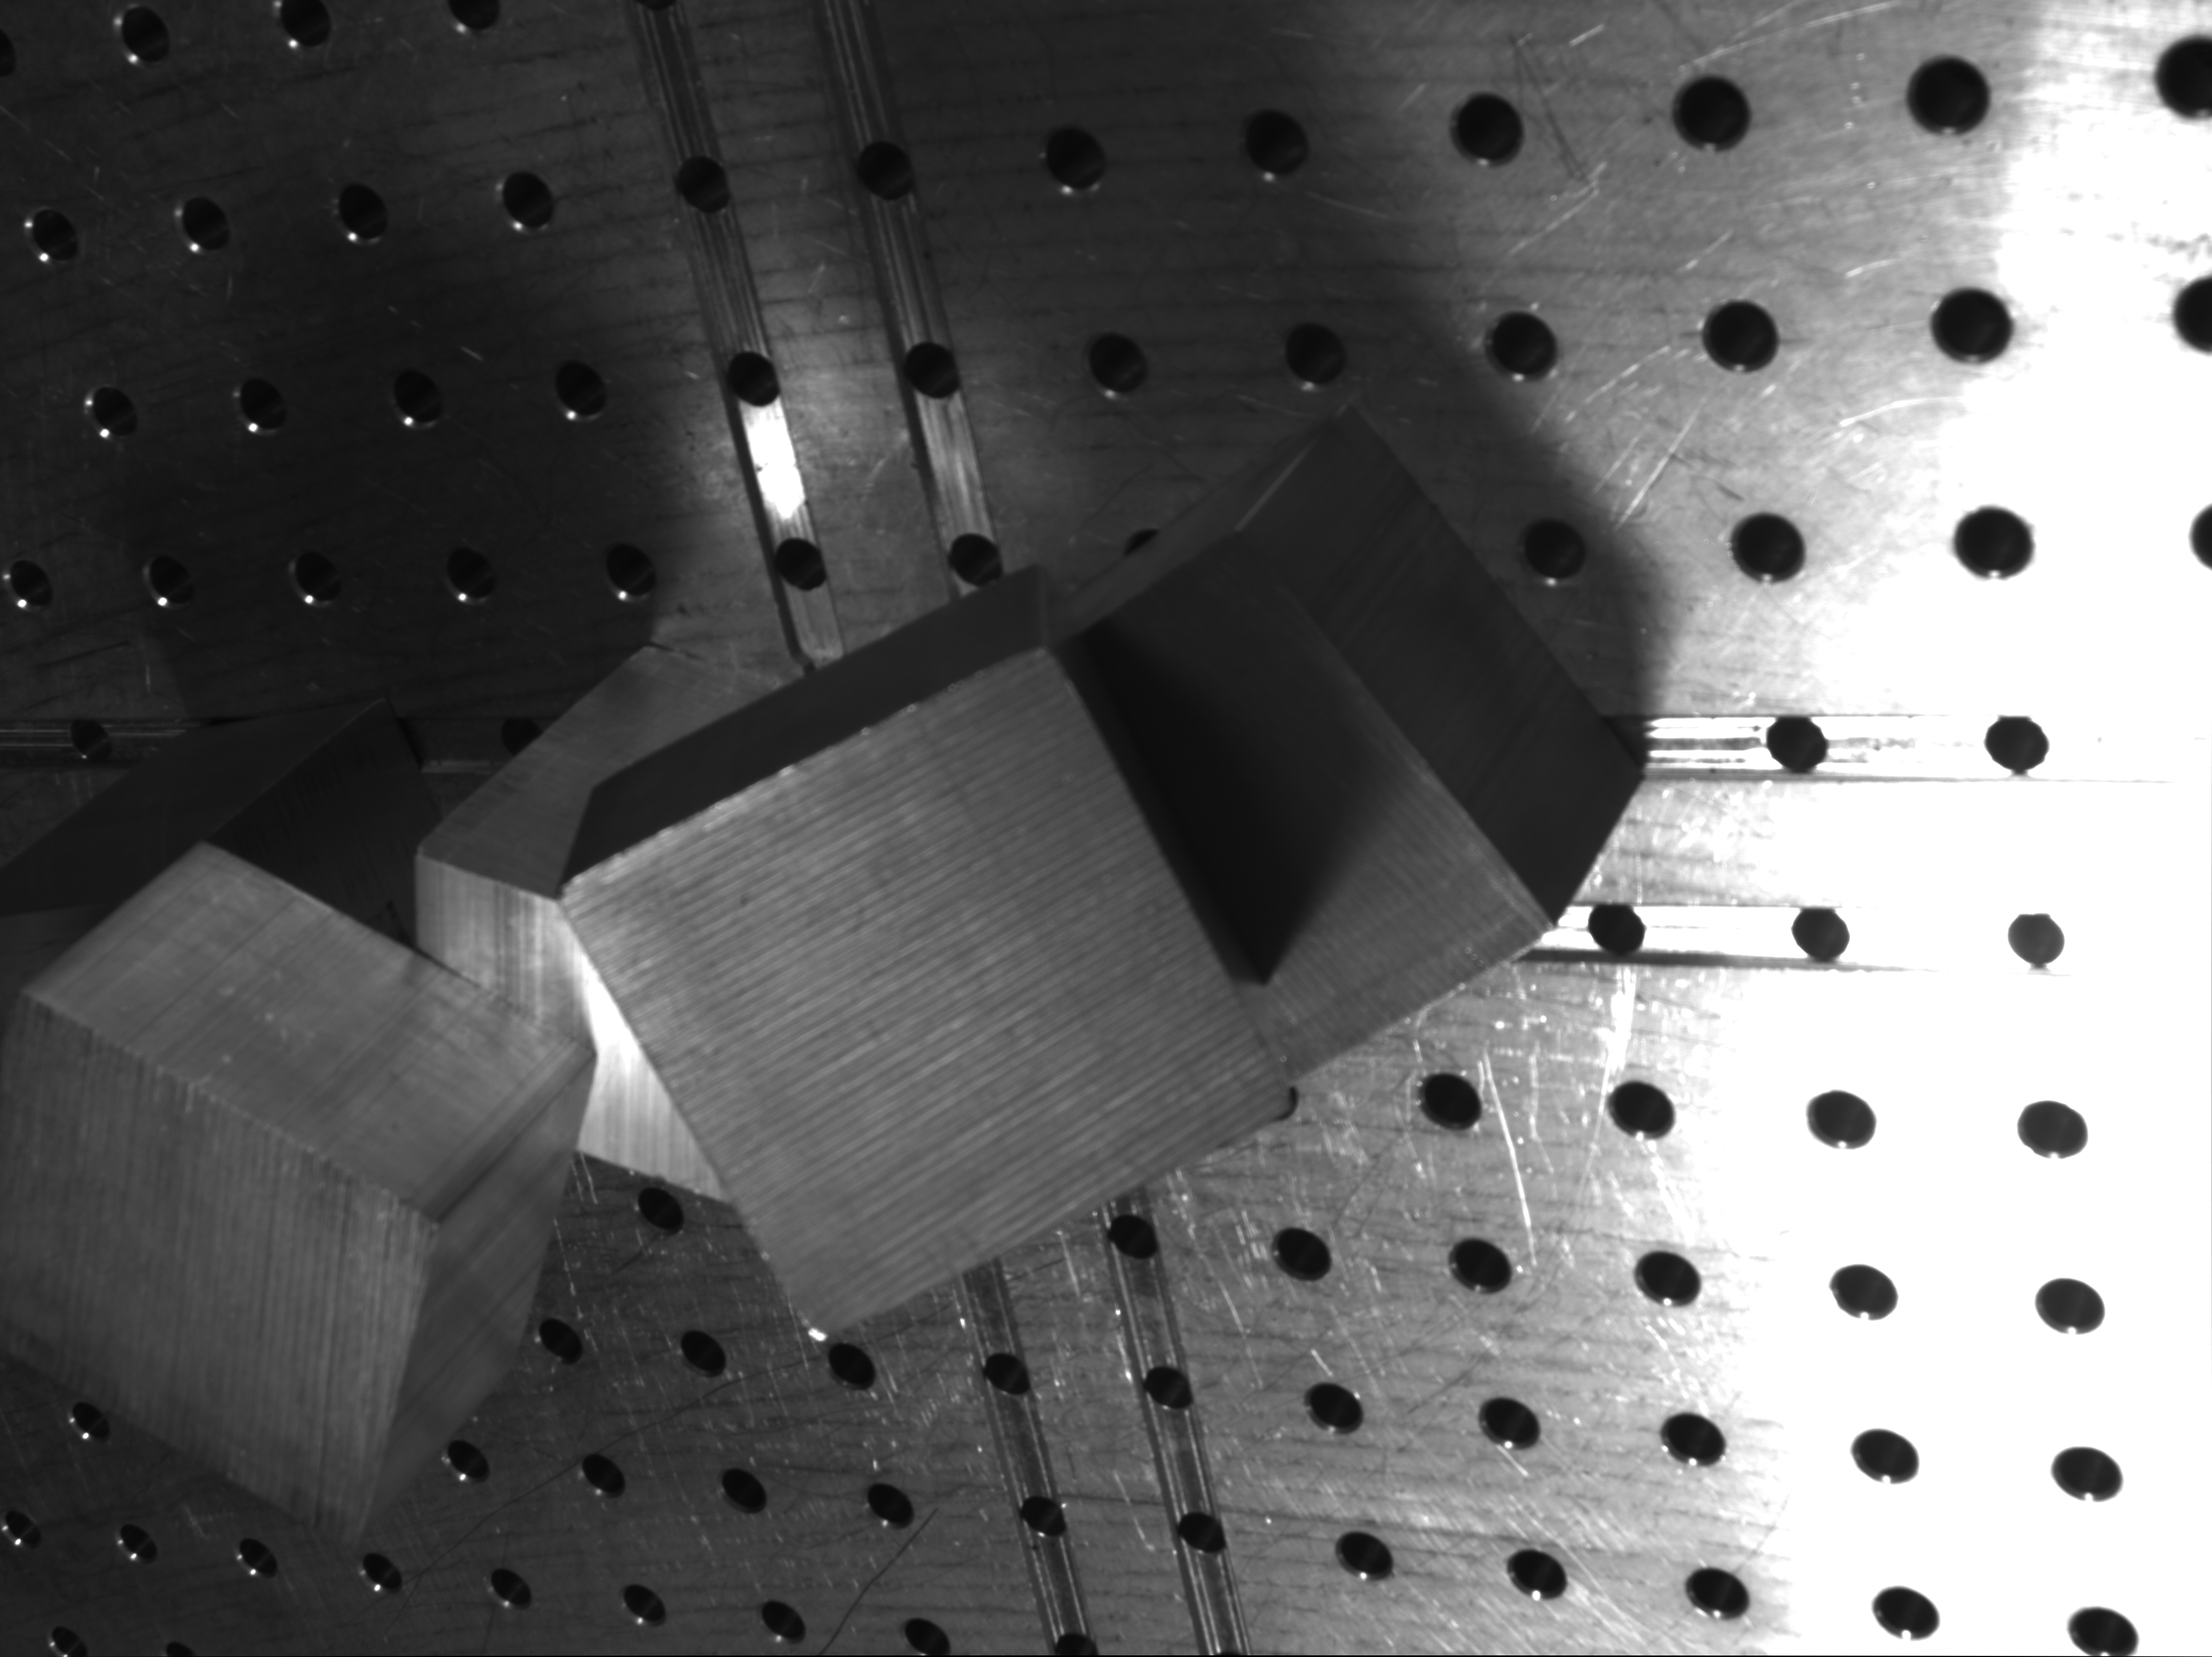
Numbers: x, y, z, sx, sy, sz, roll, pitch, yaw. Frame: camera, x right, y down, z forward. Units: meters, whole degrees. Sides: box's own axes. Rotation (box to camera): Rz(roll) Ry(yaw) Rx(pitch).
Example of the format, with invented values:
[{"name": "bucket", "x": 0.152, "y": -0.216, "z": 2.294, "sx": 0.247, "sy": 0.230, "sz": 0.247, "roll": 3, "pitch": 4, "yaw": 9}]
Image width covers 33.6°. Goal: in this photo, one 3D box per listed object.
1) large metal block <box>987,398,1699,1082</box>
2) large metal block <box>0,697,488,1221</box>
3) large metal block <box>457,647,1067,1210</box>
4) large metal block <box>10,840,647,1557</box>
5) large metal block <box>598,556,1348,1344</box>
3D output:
[{"name": "large metal block", "x": 0.035, "y": -0.009, "z": 0.595, "sx": 0.080, "sy": 0.050, "sz": 0.080, "roll": -34, "pitch": 100, "yaw": 37}, {"name": "large metal block", "x": -0.153, "y": 0.031, "z": 0.694, "sx": 0.050, "sy": 0.080, "sz": 0.080, "roll": -6, "pitch": 115, "yaw": 30}, {"name": "large metal block", "x": -0.057, "y": 0.018, "z": 0.637, "sx": 0.080, "sy": 0.080, "sz": 0.050, "roll": 17, "pitch": 125, "yaw": 17}, {"name": "large metal block", "x": -0.132, "y": 0.062, "z": 0.619, "sx": 0.080, "sy": 0.050, "sz": 0.080, "roll": 28, "pitch": 127, "yaw": 10}, {"name": "large metal block", "x": -0.019, "y": 0.017, "z": 0.551, "sx": 0.080, "sy": 0.050, "sz": 0.080, "roll": -27, "pitch": 107, "yaw": 6}]
